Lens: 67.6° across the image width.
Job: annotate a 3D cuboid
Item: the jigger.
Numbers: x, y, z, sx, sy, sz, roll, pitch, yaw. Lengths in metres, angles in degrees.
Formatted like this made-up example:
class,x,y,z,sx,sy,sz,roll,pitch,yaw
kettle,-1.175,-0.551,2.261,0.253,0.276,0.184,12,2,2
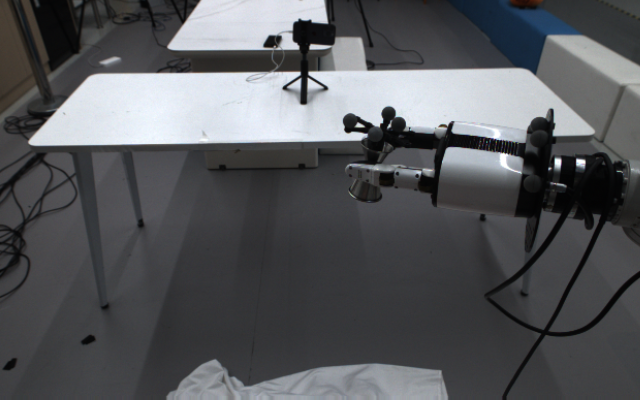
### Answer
class,x,y,z,sx,sy,sz,roll,pitch,yaw
jigger,0.062,-0.037,0.595,0.043,0.071,0.043,9,30,-5
